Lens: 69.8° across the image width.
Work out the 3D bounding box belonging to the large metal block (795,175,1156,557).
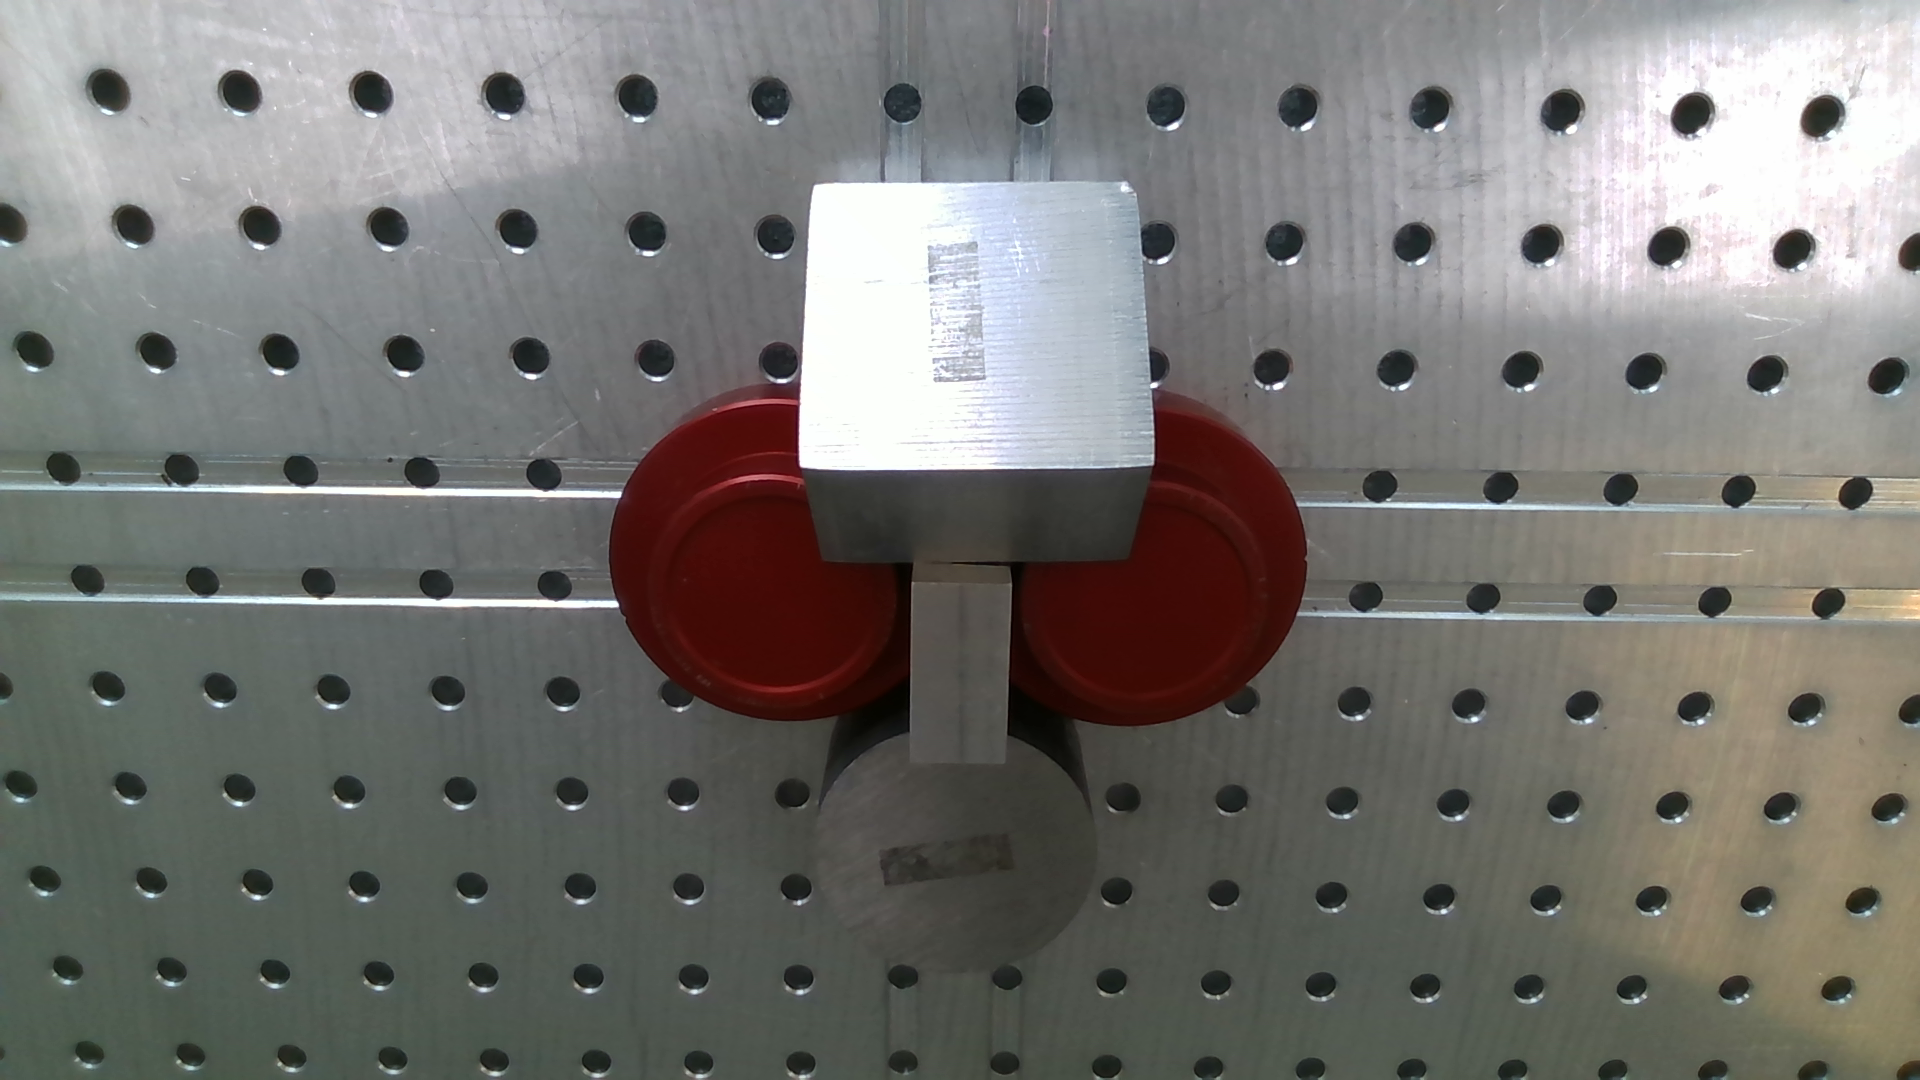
[{"bbox_3d":[0.003,-0.043,0.345,0.080,0.080,0.050,0,154,0],"label":"large metal block"}]

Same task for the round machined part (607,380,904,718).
[{"bbox_3d":[-0.051,0.007,0.390,0.098,0.042,0.098,0,110,0],"label":"round machined part"}]

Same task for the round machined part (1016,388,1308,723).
[{"bbox_3d":[0.050,0.009,0.390,0.098,0.042,0.098,0,110,0],"label":"round machined part"}]

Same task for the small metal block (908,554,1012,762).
[{"bbox_3d":[0.000,0.025,0.368,0.025,0.050,0.050,1,110,0],"label":"small metal block"}]

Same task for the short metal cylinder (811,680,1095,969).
[{"bbox_3d":[-0.002,0.079,0.411,0.080,0.050,0.080,0,110,0],"label":"short metal cylinder"}]
